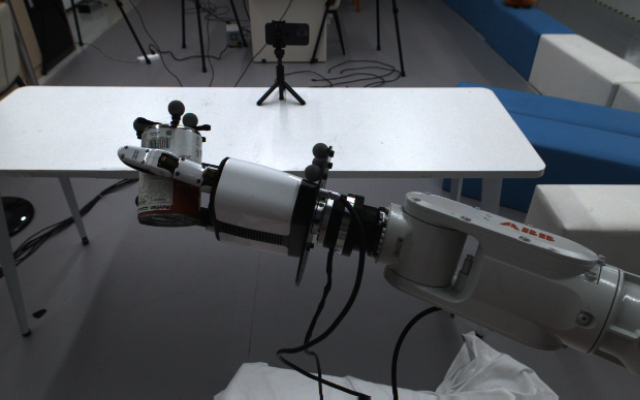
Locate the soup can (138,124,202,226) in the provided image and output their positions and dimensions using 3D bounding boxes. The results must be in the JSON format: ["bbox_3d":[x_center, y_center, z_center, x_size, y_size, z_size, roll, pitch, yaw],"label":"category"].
[{"bbox_3d":[-0.164,-0.024,0.539,0.067,0.067,0.101,-1,77,-5],"label":"soup can"}]
